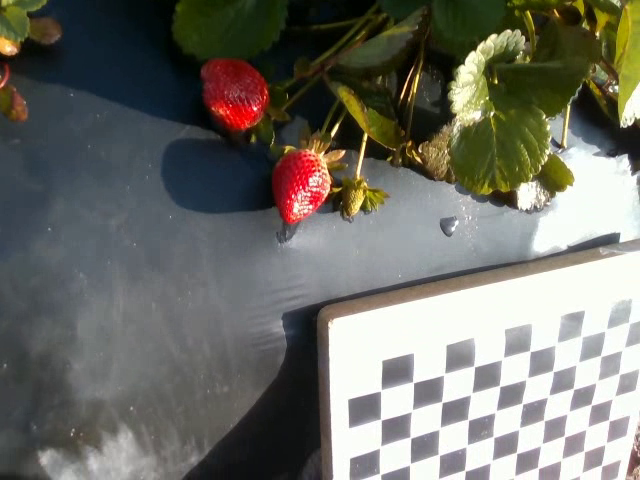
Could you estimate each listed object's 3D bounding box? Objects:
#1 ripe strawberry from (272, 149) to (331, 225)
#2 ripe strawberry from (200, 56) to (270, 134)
[{"bbox_3d":[-0.012,-0.031,0.350,0.043,0.053,0.038,38,-40,-29],"label":"ripe strawberry"},{"bbox_3d":[-0.052,-0.088,0.352,0.039,0.048,0.054,24,16,39],"label":"ripe strawberry"}]
